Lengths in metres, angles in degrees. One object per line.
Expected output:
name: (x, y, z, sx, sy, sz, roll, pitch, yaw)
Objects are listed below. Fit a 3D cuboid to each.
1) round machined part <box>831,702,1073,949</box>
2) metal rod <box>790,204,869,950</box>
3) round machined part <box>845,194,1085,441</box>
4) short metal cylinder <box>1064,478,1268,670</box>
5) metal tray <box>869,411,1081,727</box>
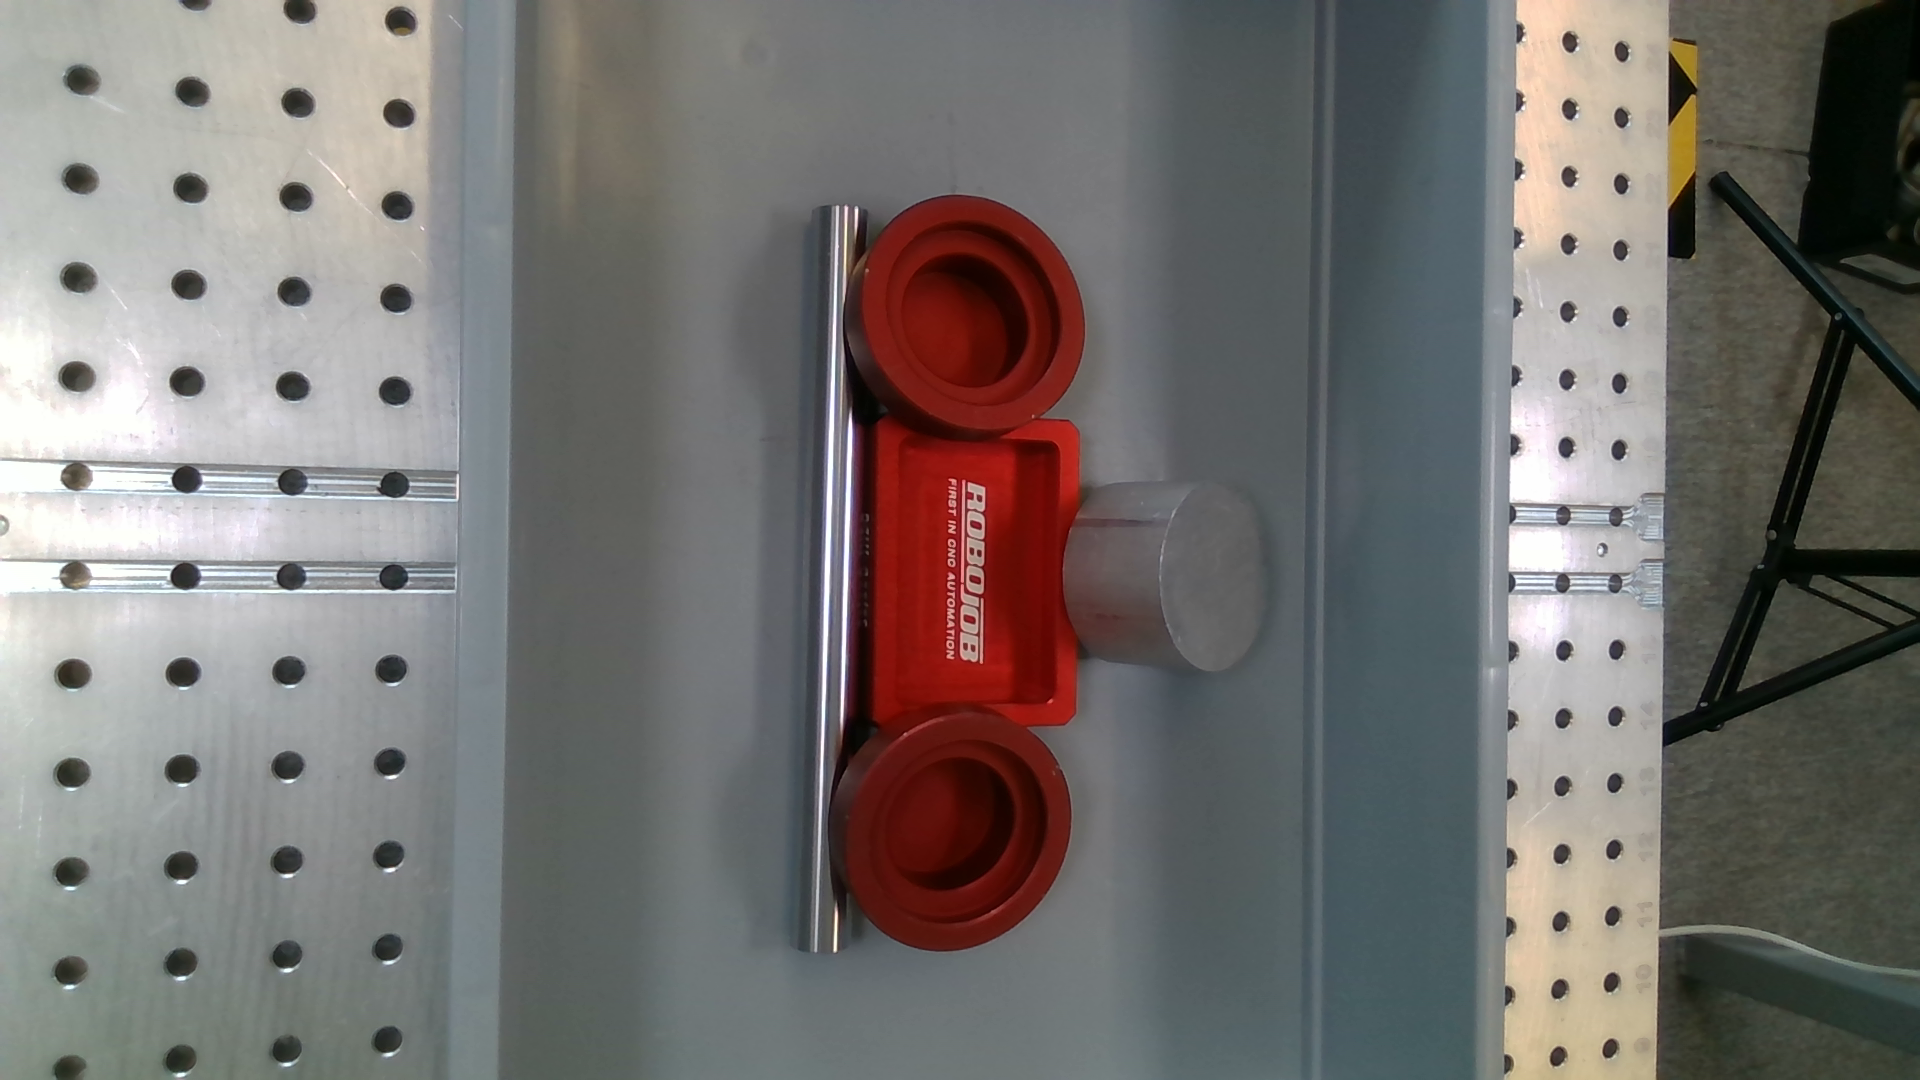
round machined part: (-0.006, 0.114, 0.569, 0.098, 0.042, 0.098, -3, 99, -22)
metal rod: (-0.053, 0.015, 0.565, 0.025, 0.025, 0.300, 2, 90, -20)
round machined part: (-0.001, -0.089, 0.570, 0.098, 0.042, 0.098, 4, 81, -22)
short metal cylinder: (0.089, 0.014, 0.589, 0.080, 0.050, 0.080, 0, 90, -47)
metal tray: (0.003, 0.013, 0.583, 0.090, 0.030, 0.130, 1, 90, -20)
